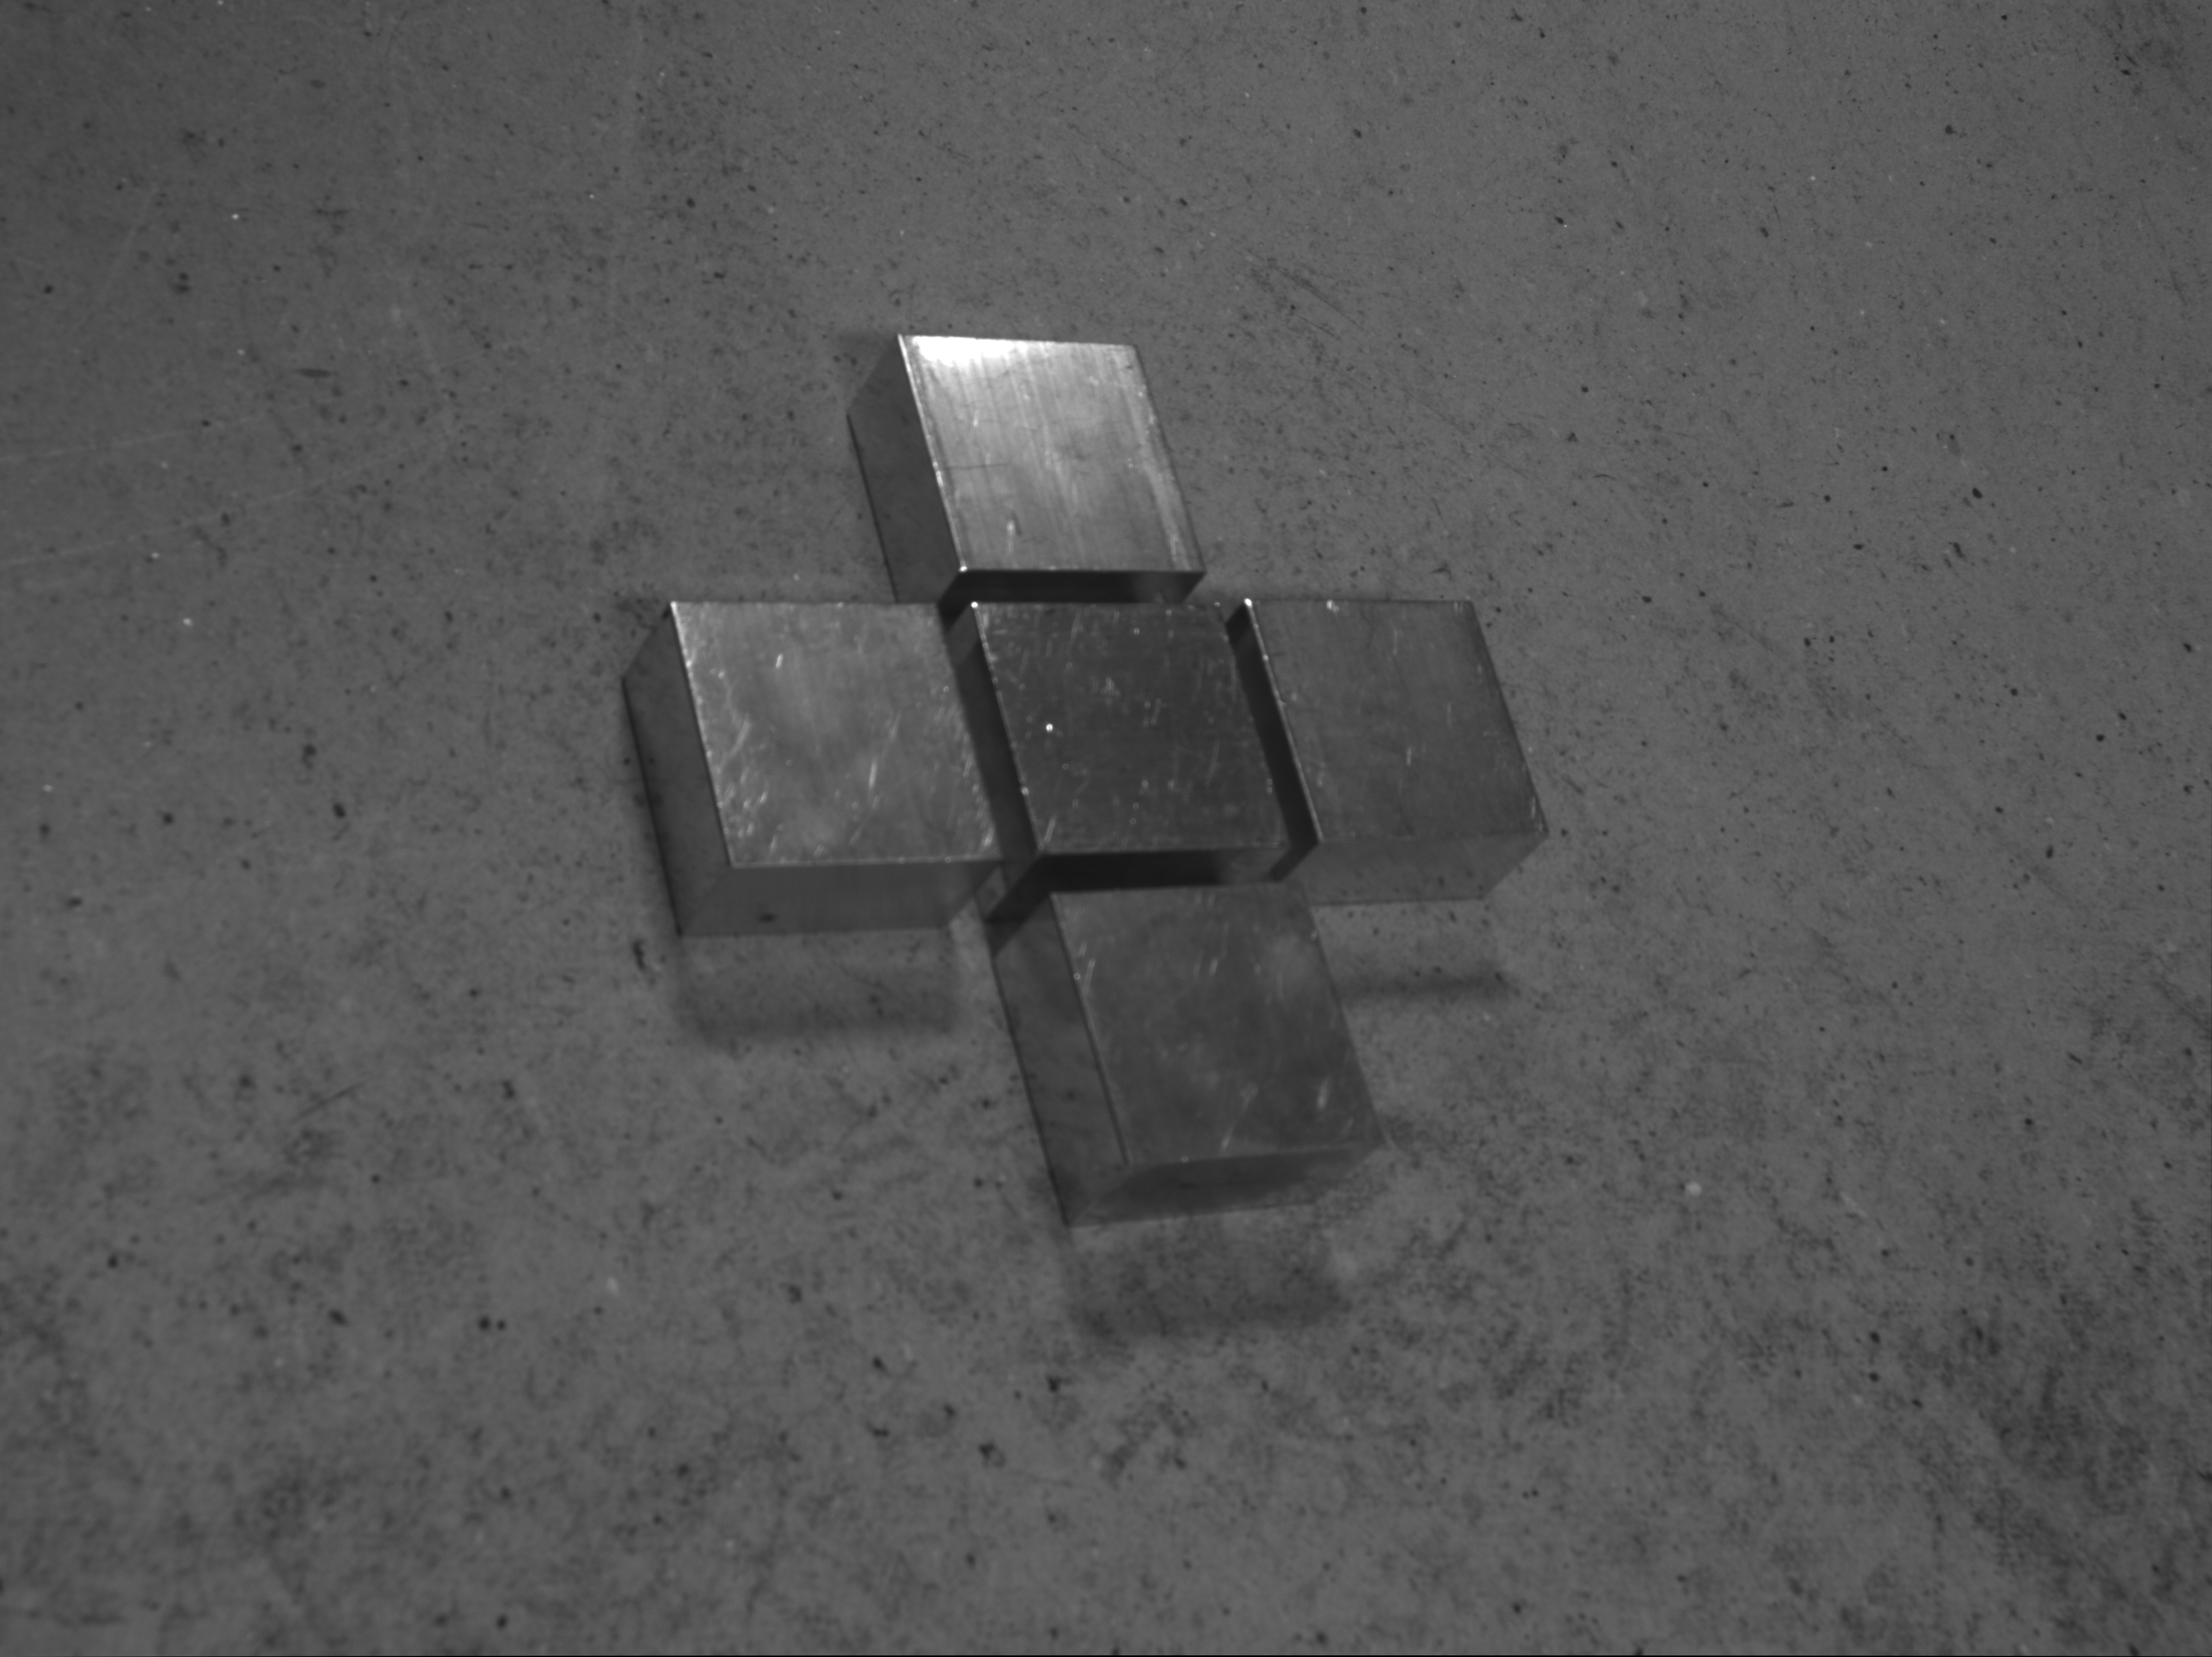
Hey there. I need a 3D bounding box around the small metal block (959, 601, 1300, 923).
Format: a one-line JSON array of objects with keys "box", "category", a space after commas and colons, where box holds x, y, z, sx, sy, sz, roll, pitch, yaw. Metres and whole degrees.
[{"box": [0.001, -0.012, 0.648, 0.050, 0.025, 0.050, -2, 62, -29], "category": "small metal block"}]

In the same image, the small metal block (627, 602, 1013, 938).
[{"box": [-0.049, -0.010, 0.620, 0.050, 0.025, 0.050, -2, 62, -29], "category": "small metal block"}]

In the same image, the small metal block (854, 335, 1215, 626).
[{"box": [-0.013, -0.062, 0.671, 0.050, 0.025, 0.050, -2, 62, -29], "category": "small metal block"}]

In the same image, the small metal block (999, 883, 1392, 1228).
[{"box": [0.015, 0.038, 0.625, 0.050, 0.025, 0.050, -2, 63, -29], "category": "small metal block"}]

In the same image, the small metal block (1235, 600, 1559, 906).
[{"box": [0.049, -0.014, 0.675, 0.050, 0.025, 0.050, -2, 62, -29], "category": "small metal block"}]
